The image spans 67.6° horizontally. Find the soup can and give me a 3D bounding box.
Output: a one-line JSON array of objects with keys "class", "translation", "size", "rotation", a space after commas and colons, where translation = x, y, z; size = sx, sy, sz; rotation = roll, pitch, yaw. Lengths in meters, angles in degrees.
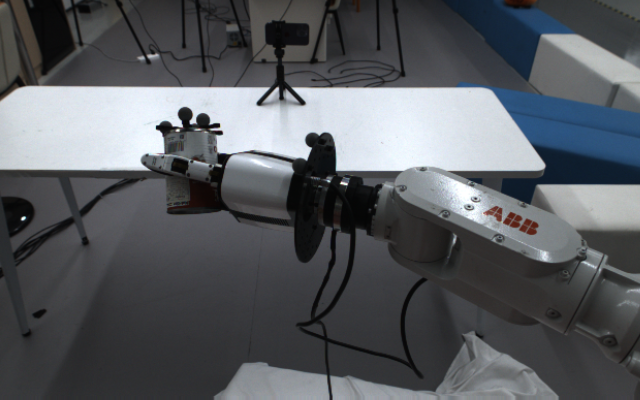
[{"class": "soup can", "translation": [-0.162, -0.033, 0.619], "size": [0.067, 0.101, 0.067], "rotation": [-5, -5, 0]}]
